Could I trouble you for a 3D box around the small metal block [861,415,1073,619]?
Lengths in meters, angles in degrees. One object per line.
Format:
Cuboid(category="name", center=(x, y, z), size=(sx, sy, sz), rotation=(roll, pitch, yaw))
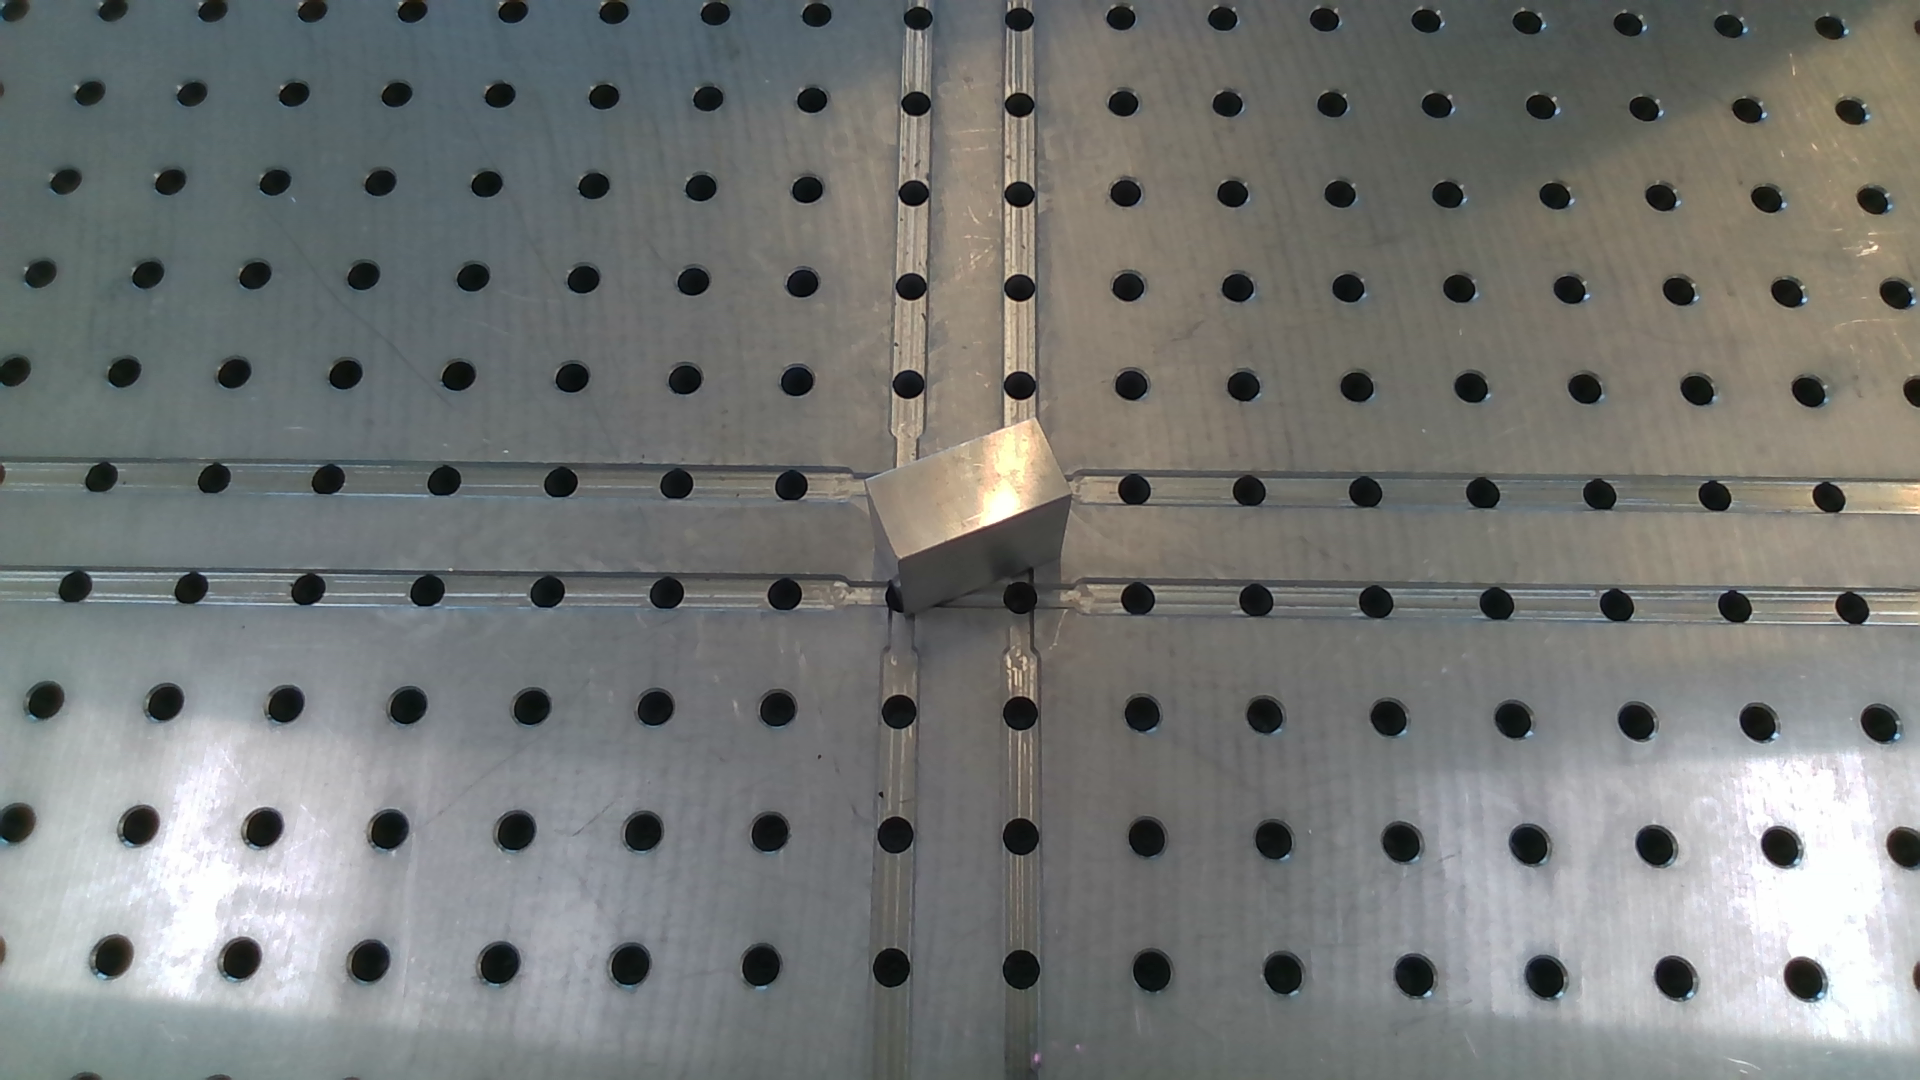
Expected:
Cuboid(category="small metal block", center=(0.002, -0.005, 0.386), size=(0.050, 0.050, 0.025), rotation=(-21, 72, -7))
